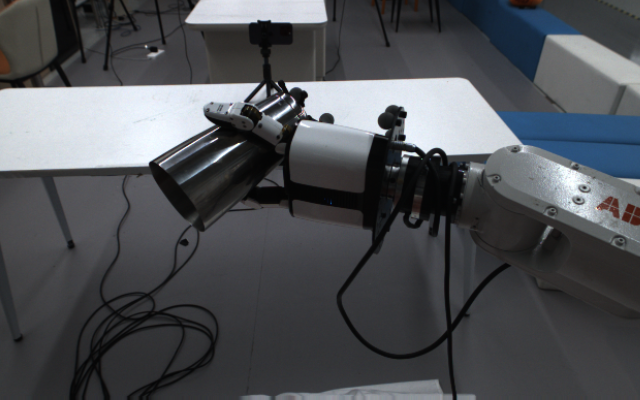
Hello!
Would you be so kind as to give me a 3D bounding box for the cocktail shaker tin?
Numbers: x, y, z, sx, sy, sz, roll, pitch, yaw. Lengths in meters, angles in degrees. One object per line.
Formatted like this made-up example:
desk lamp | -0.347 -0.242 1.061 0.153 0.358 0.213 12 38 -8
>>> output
cocktail shaker tin | -0.092 -0.056 0.547 0.170 0.093 0.093 -38 49 -24
